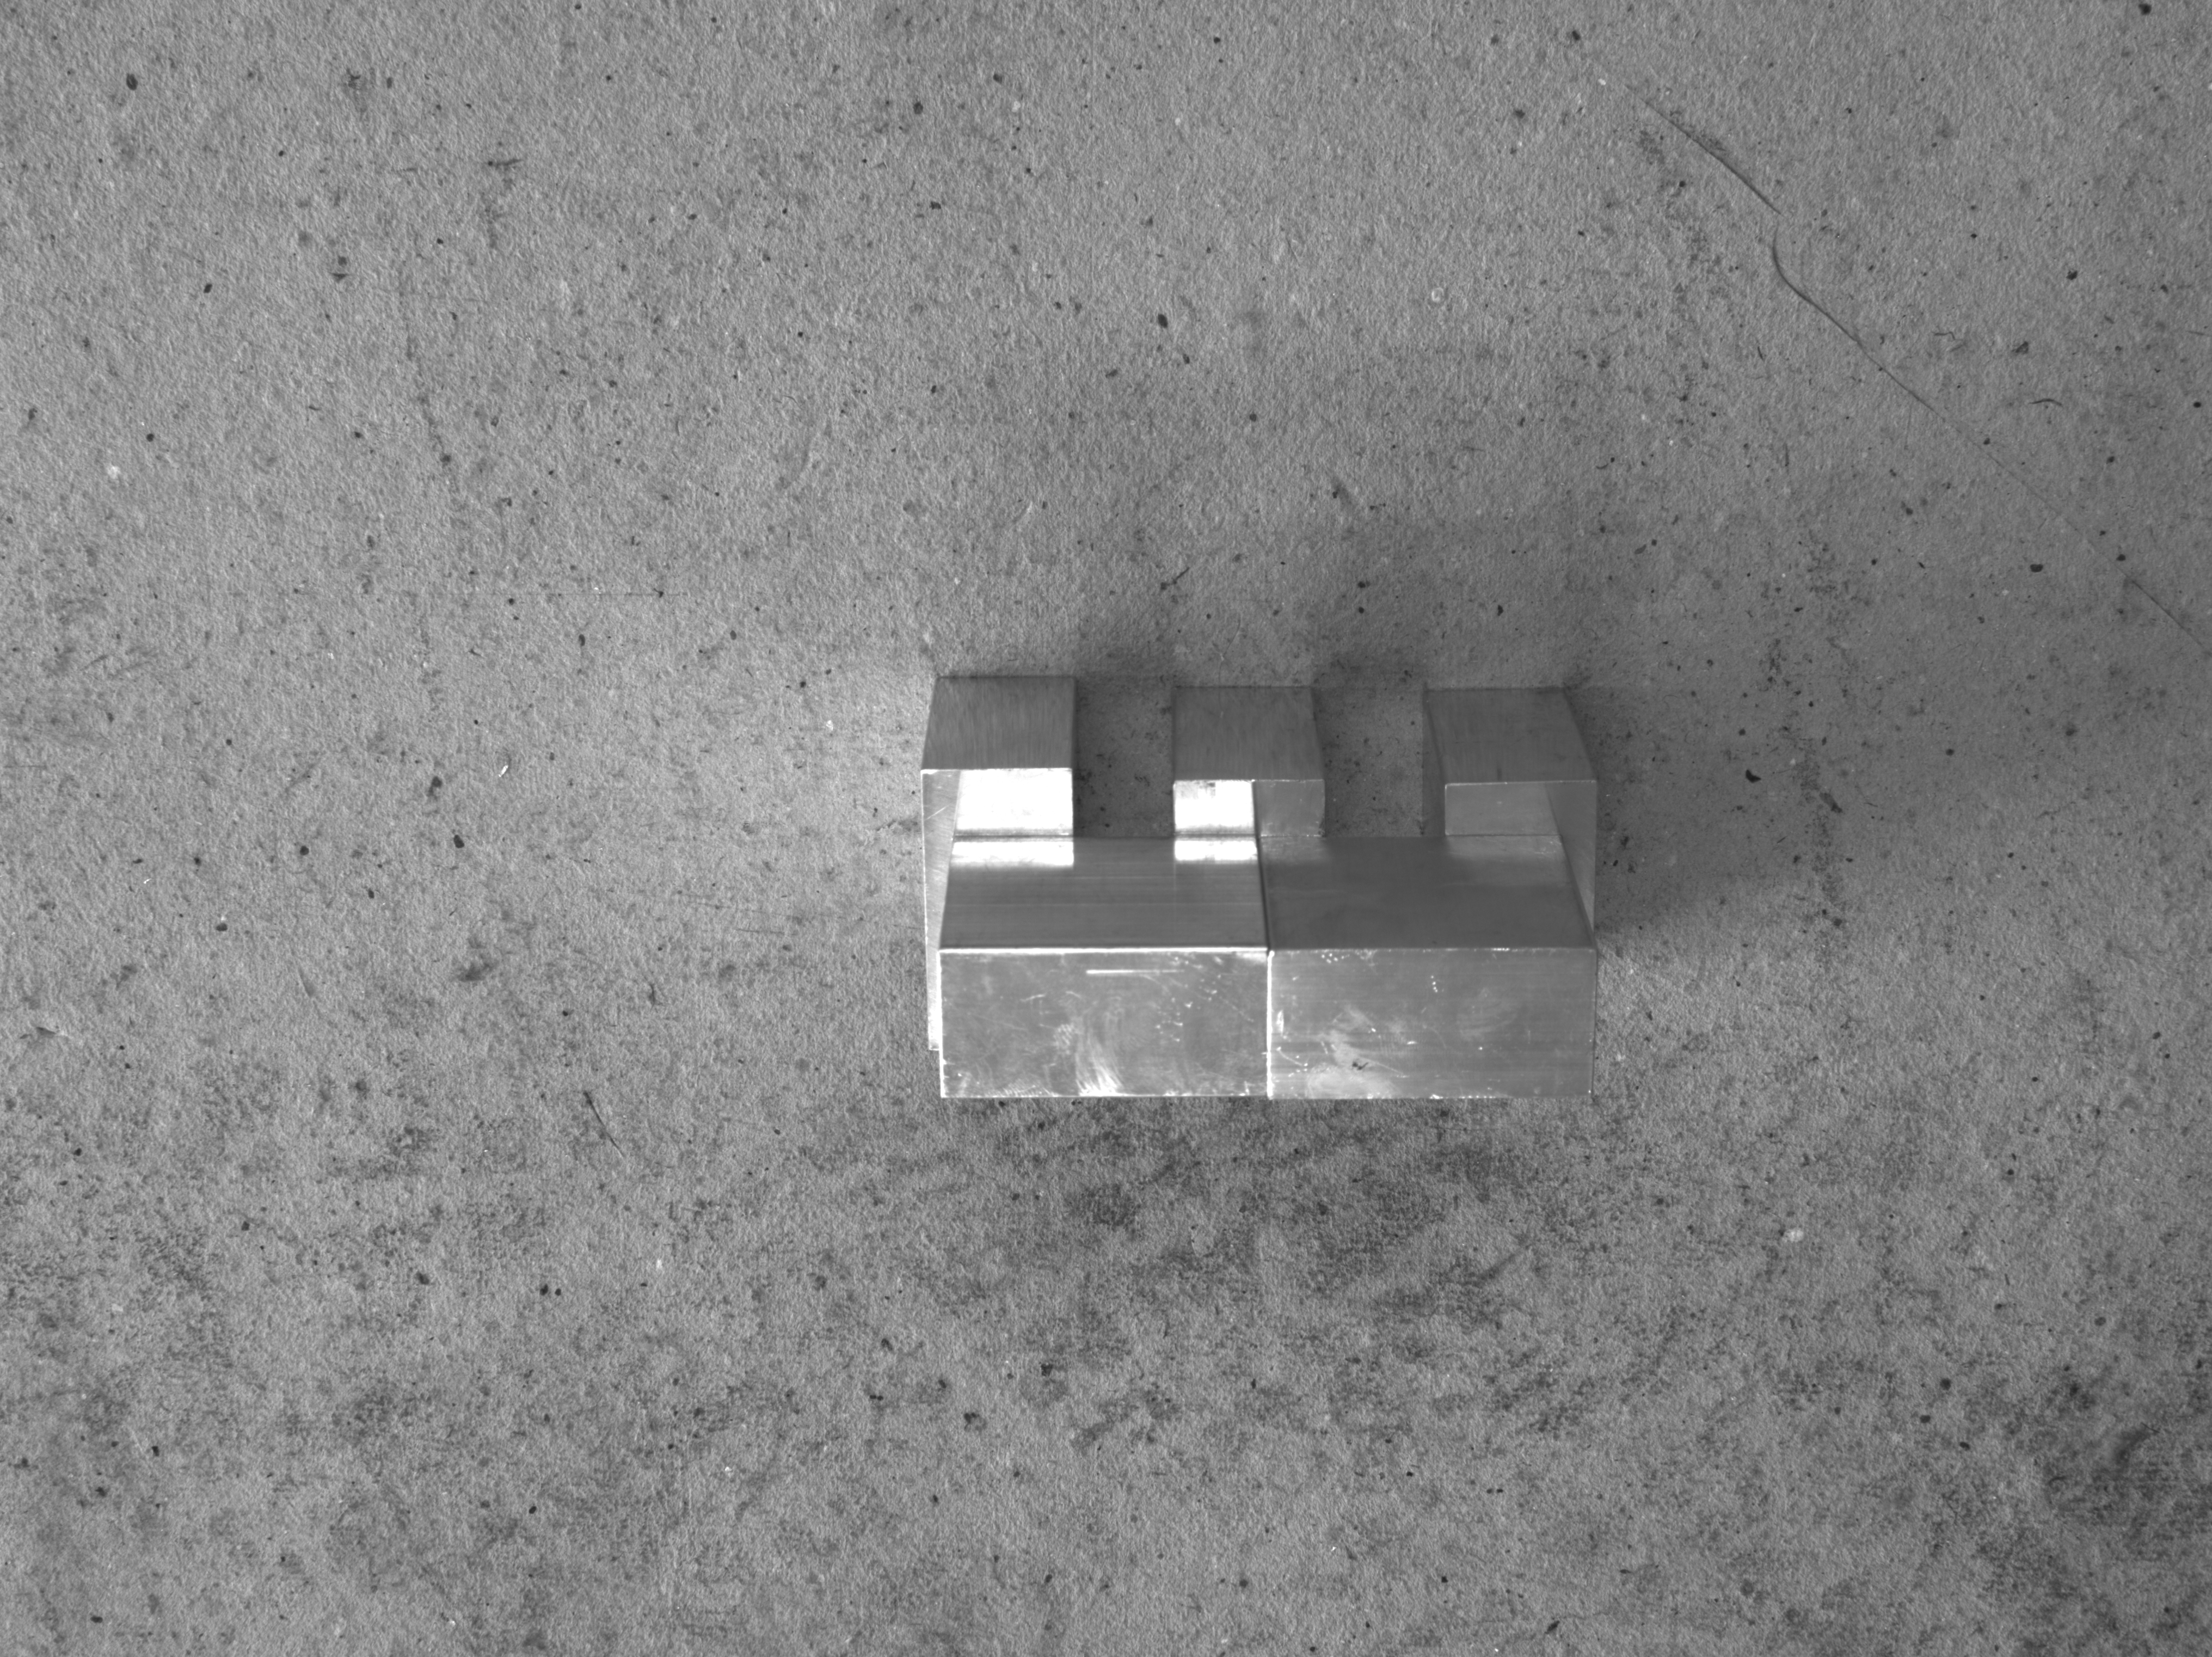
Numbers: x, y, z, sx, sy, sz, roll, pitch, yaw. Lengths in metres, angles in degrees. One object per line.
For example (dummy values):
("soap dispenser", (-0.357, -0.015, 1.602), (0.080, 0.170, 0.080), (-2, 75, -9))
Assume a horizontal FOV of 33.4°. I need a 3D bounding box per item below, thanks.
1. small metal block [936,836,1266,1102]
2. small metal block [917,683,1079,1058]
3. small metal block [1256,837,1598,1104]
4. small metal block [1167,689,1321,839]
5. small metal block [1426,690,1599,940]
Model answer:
("small metal block", (-0.001, 0.022, 0.586), (0.050, 0.050, 0.025), (0, 110, 0))
("small metal block", (-0.018, 0.006, 0.632), (0.025, 0.050, 0.050), (0, 110, 1))
("small metal block", (0.050, 0.022, 0.586), (0.050, 0.050, 0.025), (0, 110, 0))
("small metal block", (0.024, 0.008, 0.634), (0.025, 0.050, 0.050), (-1, 110, 1))
("small metal block", (0.069, 0.008, 0.634), (0.025, 0.050, 0.050), (-1, 110, 1))
